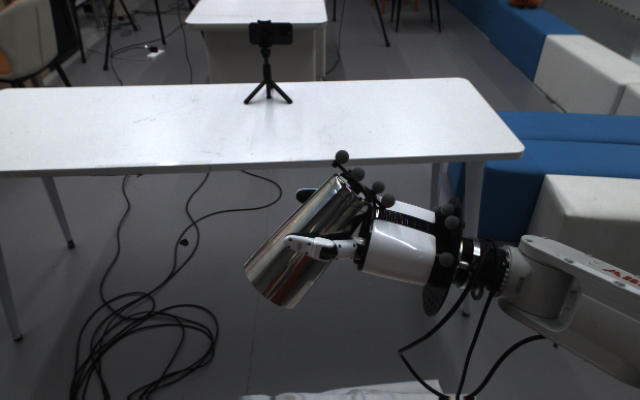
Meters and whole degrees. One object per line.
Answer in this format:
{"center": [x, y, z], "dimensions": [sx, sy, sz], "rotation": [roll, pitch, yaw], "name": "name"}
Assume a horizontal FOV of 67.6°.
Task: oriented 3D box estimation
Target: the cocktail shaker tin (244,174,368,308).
{"center": [-0.010, 0.045, 0.633], "dimensions": [0.093, 0.170, 0.093], "rotation": [41, 12, -11], "name": "cocktail shaker tin"}
